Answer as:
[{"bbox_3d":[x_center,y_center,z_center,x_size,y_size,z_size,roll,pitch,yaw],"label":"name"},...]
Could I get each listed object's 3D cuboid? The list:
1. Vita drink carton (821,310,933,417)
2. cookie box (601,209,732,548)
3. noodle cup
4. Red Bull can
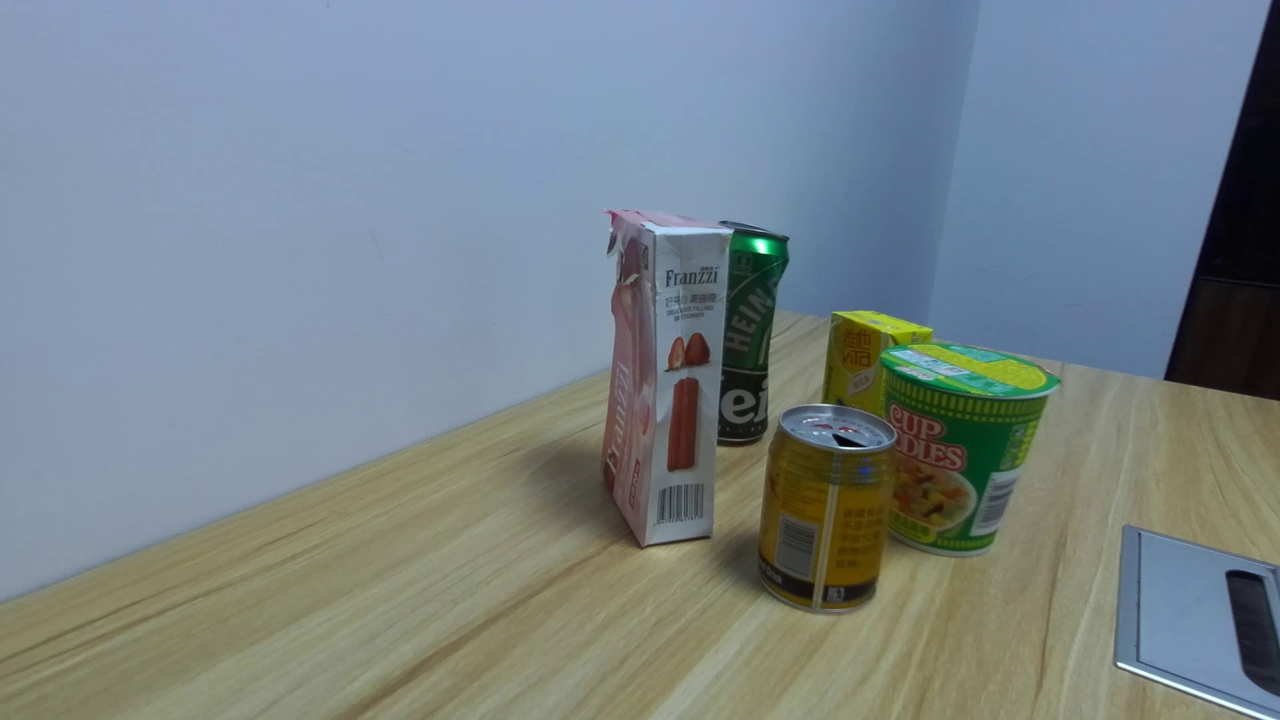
[{"bbox_3d":[0.170,0.021,0.531,0.043,0.109,0.076,-3,19,-23],"label":"Vita drink carton"},{"bbox_3d":[0.011,0.008,0.426,0.059,0.186,0.104,0,18,-15],"label":"cookie box"},{"bbox_3d":[0.187,0.055,0.427,0.097,0.110,0.097,3,16,0],"label":"noodle cup"},{"bbox_3d":[0.098,0.076,0.374,0.068,0.093,0.068,2,18,0],"label":"Red Bull can"}]
